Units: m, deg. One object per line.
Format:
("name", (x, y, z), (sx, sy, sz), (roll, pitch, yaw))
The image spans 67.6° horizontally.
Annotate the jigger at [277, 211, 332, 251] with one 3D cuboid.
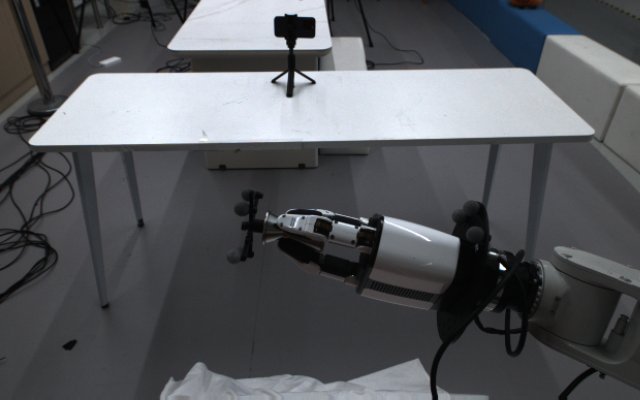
("jigger", (-0.020, 0.032, 0.546), (0.071, 0.043, 0.043), (7, 35, 2))
